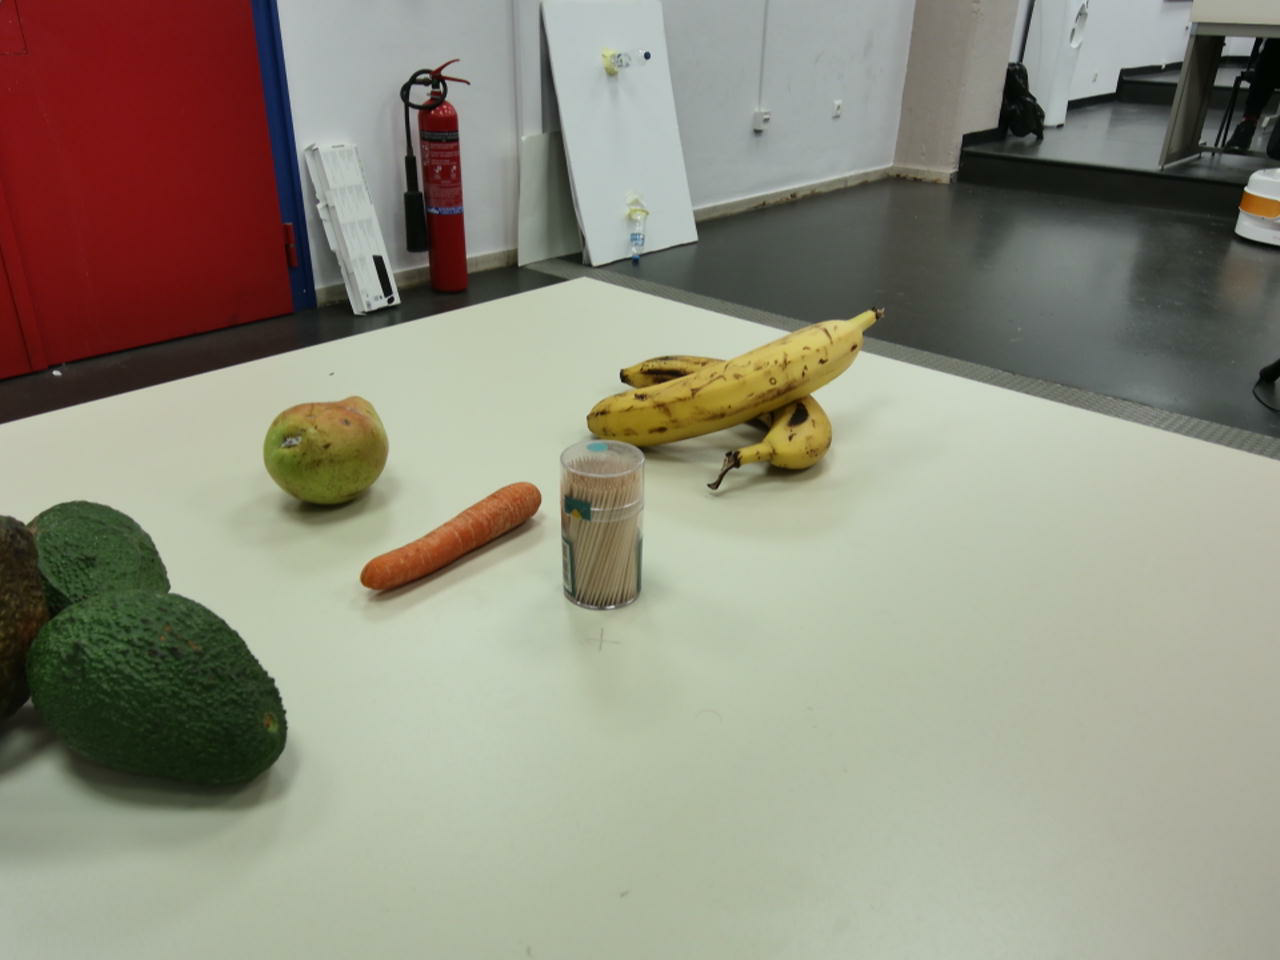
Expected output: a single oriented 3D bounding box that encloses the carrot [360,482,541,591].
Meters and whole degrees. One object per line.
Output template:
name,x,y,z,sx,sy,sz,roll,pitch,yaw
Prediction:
carrot,-0.097,0.029,0.529,0.024,0.023,0.122,19,30,34
